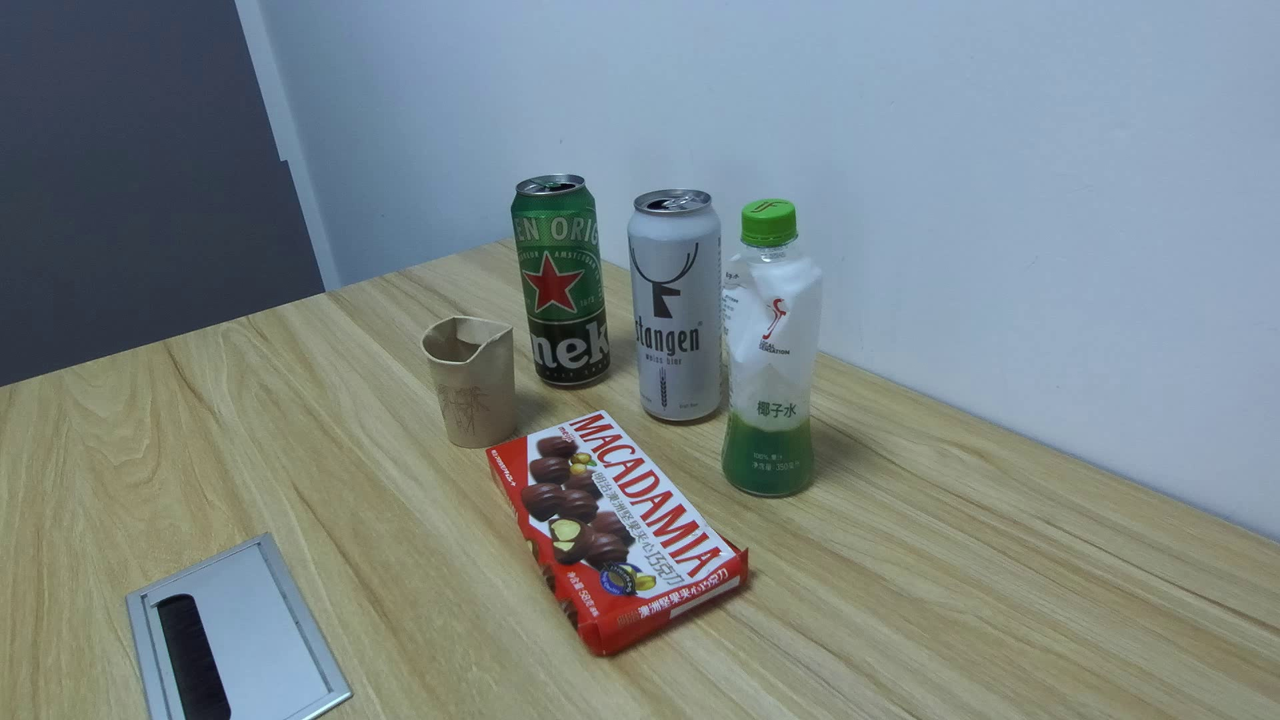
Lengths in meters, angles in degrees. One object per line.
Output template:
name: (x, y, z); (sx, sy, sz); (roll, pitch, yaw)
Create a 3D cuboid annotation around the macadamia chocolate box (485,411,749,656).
macadamia chocolate box: (-0.023, 0.097, 0.445); (0.106, 0.028, 0.182); (-18, 33, -24)

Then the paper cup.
paper cup: (-0.131, 0.019, 0.540); (0.066, 0.084, 0.072); (12, 31, 27)

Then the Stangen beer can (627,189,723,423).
Stangen beer can: (0.028, -0.037, 0.527); (0.067, 0.171, 0.067); (-3, 29, 2)

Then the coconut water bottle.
coconut water bottle: (0.083, -0.005, 0.442); (0.069, 0.187, 0.069); (-3, 29, 2)

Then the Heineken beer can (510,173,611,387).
Heineken beer can: (-0.063, -0.062, 0.587); (0.067, 0.169, 0.067); (-3, 28, 2)
